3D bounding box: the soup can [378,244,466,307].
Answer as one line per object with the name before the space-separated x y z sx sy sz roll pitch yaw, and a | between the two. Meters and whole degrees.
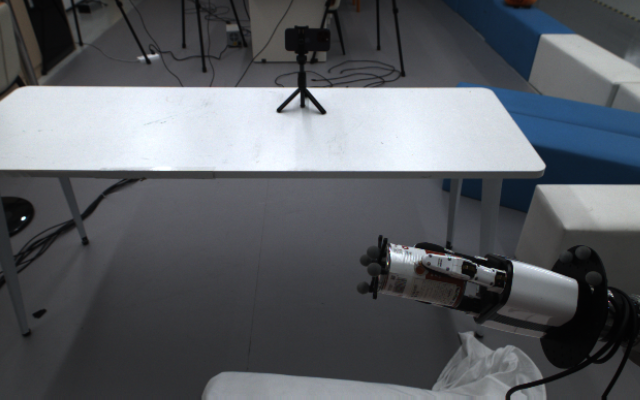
soup can | 0.133 0.095 0.629 0.101 0.067 0.067 10 35 -2
